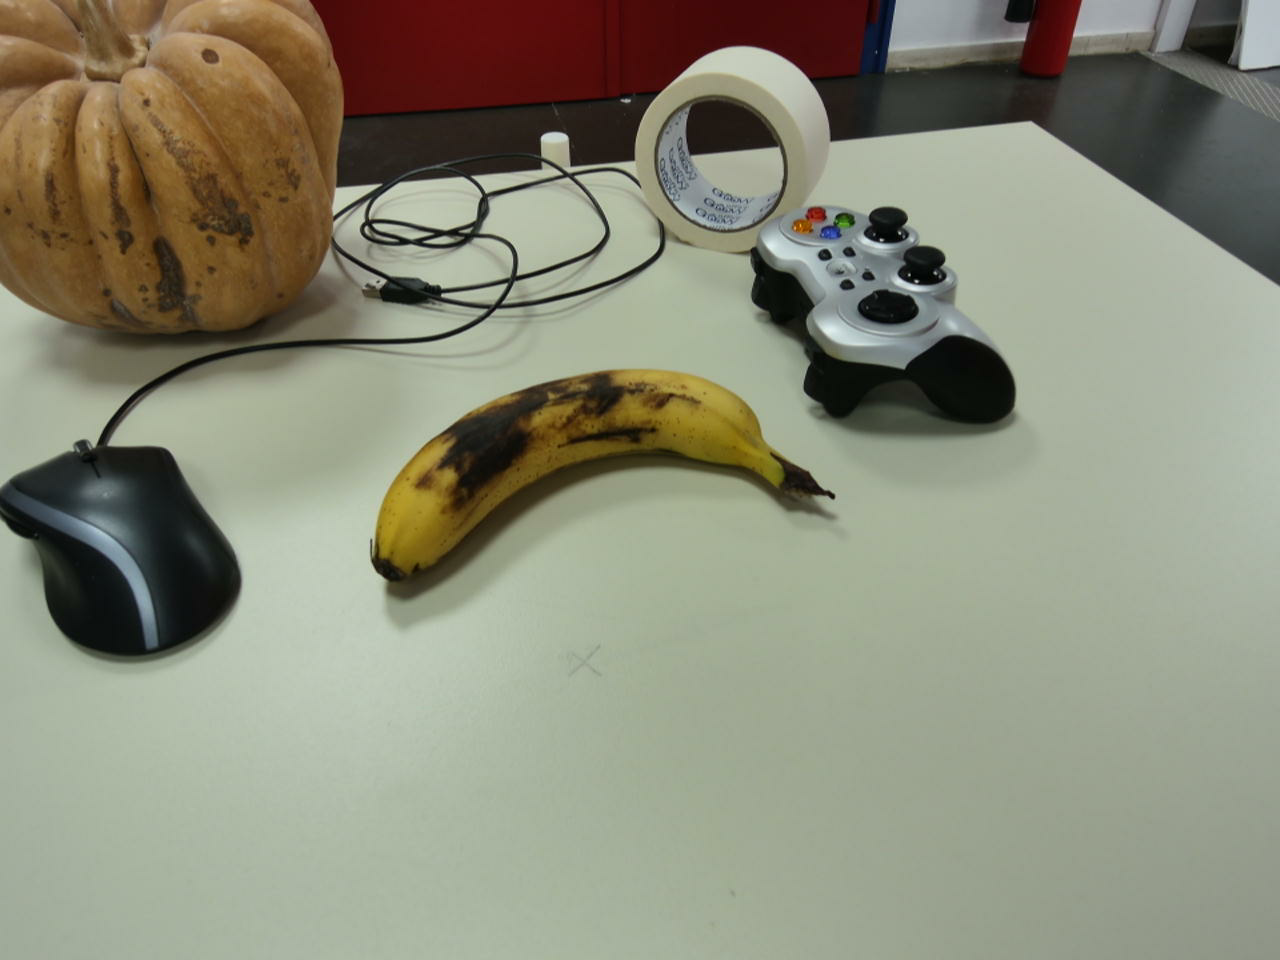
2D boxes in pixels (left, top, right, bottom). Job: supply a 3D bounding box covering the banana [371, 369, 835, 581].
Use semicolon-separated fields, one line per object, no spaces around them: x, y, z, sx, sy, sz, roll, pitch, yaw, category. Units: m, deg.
-0.023;-0.010;0.426;0.187;0.039;0.094;-9;39;-12;banana
